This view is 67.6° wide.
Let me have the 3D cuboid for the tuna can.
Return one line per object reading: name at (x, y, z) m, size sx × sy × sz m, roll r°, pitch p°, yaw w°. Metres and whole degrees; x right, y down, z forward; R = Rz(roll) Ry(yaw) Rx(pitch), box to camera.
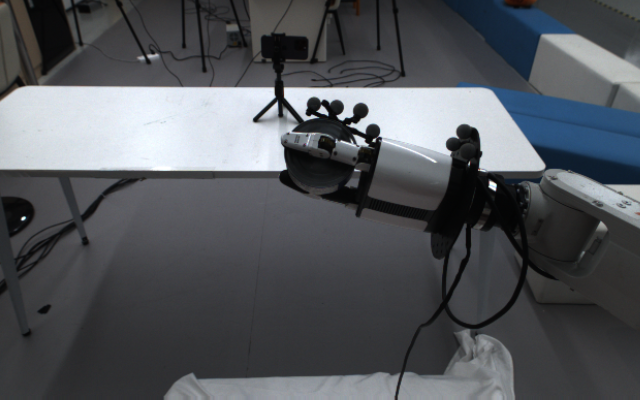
tuna can at (0.002, -0.053, 0.573) m, size 0.085 × 0.034 × 0.085 m, roll 0°, pitch 72°, yaw 0°
